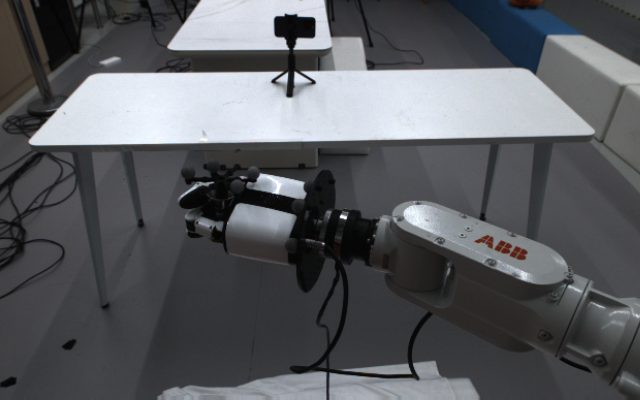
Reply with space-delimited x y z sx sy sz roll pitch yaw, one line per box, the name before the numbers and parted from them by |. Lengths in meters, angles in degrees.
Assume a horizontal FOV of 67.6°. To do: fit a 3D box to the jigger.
jigger | -0.126 0.016 0.649 0.043 0.071 0.043 4 31 -2
